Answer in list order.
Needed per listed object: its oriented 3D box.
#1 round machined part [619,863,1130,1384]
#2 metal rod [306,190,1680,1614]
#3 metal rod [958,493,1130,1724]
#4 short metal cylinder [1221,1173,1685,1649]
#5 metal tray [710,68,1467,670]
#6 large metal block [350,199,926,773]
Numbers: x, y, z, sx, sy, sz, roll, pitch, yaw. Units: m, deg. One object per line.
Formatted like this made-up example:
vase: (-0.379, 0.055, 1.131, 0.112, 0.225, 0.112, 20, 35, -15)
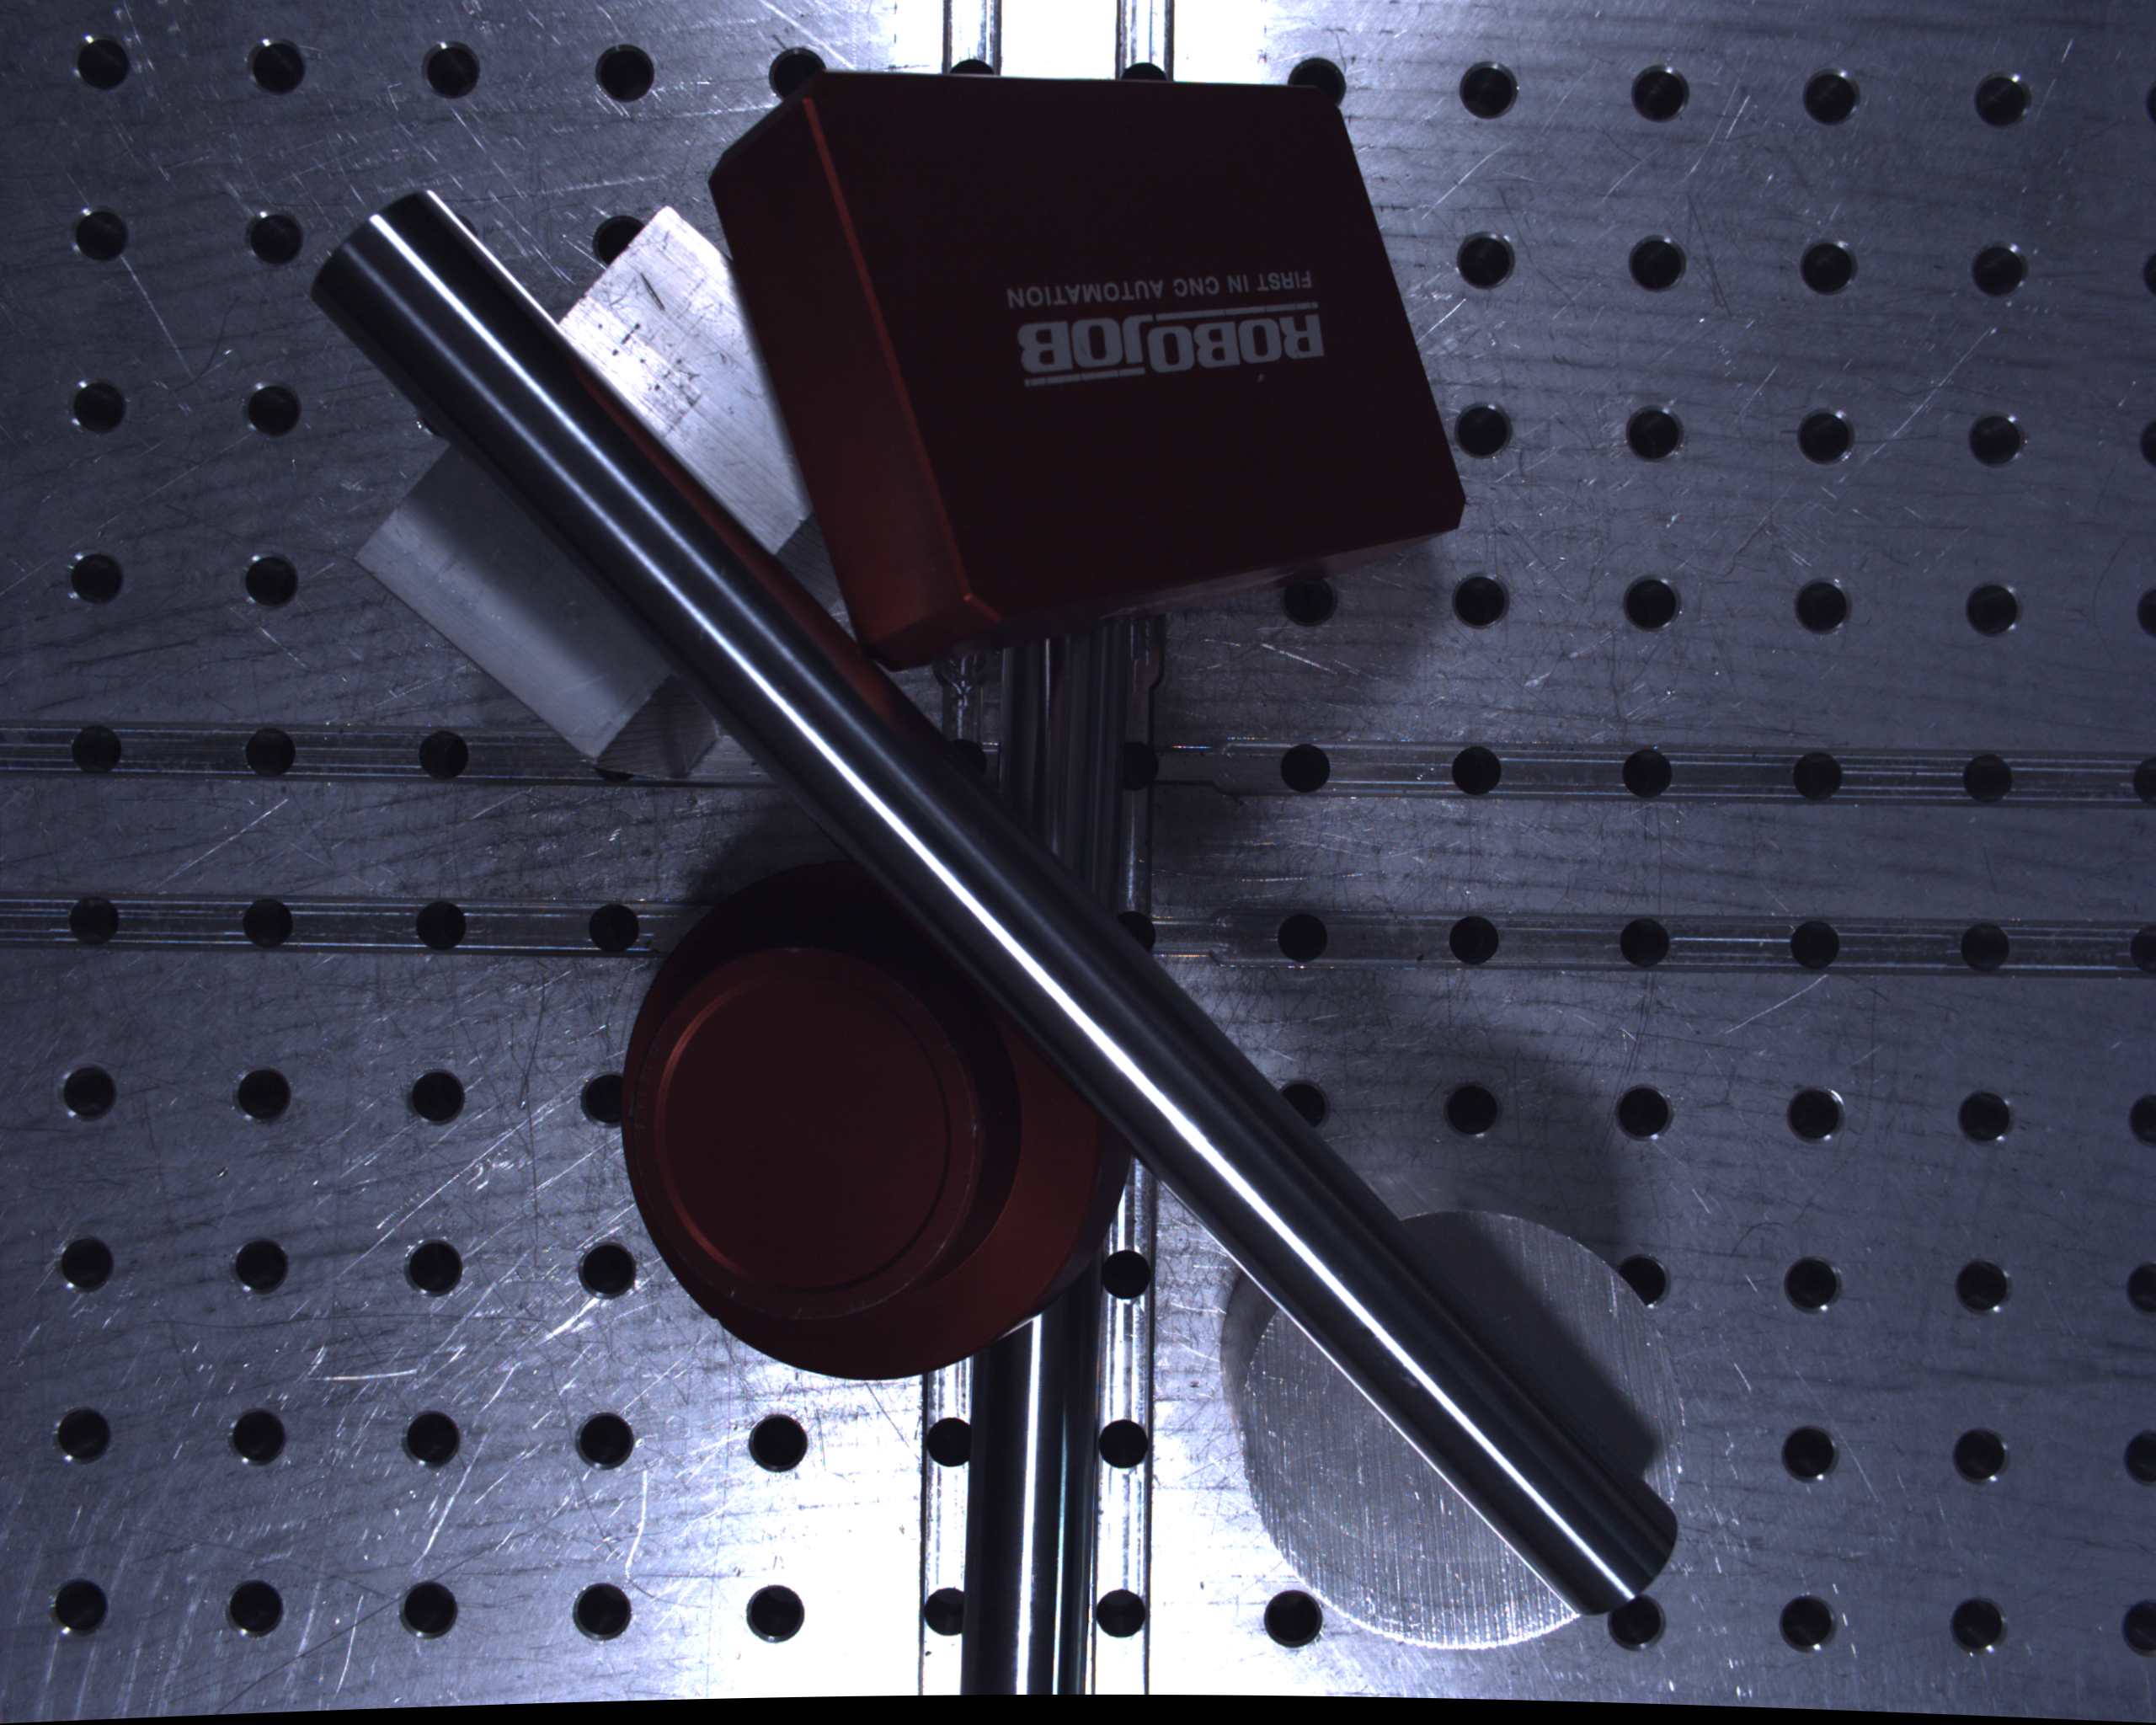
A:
round machined part: (-0.042, 0.049, 0.389, 0.098, 0.042, 0.097, 0, 90, 17)
metal rod: (-0.007, 0.013, 0.343, 0.025, 0.025, 0.300, -43, 98, 0)
metal rod: (-0.005, 0.020, 0.413, 0.025, 0.025, 0.298, 2, 90, -1)
short metal cylinder: (0.070, 0.103, 0.402, 0.081, 0.050, 0.079, 0, 90, -1)
metal tray: (0.008, -0.090, 0.372, 0.131, 0.030, 0.090, -18, 90, -42)
large metal block: (-0.075, -0.064, 0.386, 0.050, 0.080, 0.080, 41, 90, -1)
